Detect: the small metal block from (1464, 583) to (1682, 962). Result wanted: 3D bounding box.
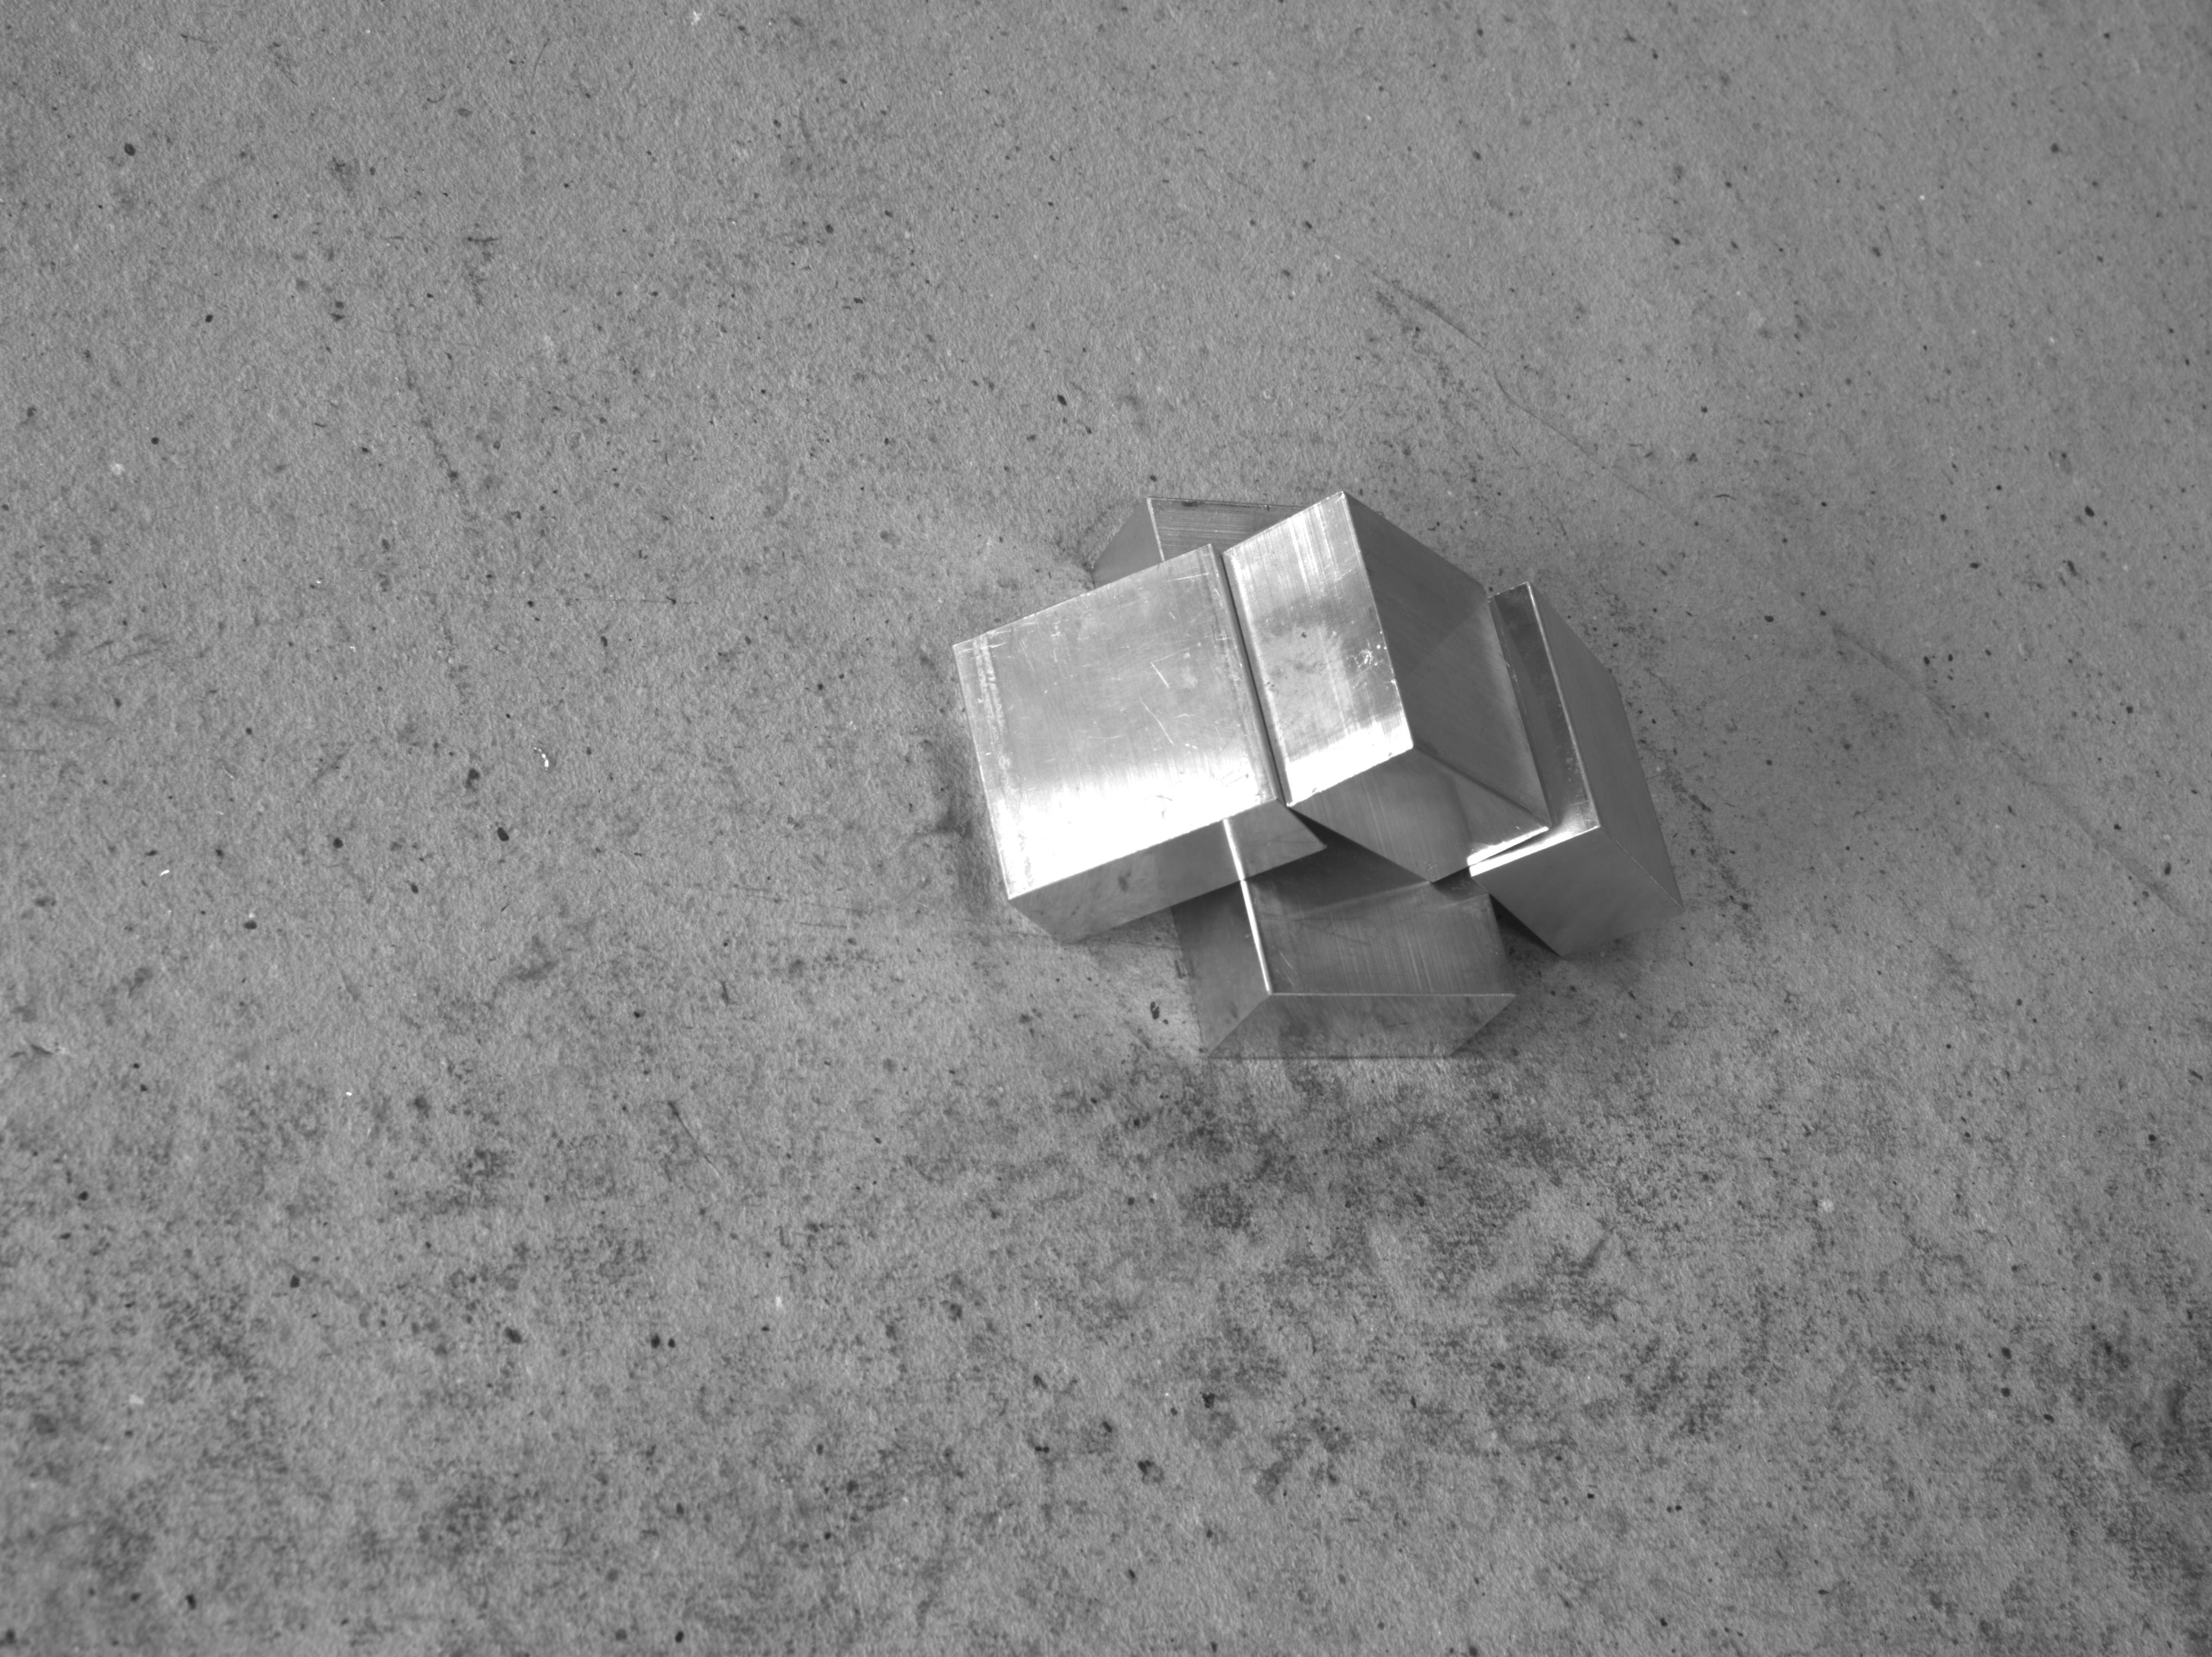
[{"bbox_3d":[0.080,-0.010,0.673,0.050,0.025,0.050,37,36,-58],"label":"small metal block"}]

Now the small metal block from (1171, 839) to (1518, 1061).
[{"bbox_3d":[0.040,0.013,0.653,0.050,0.025,0.050,1,61,-28],"label":"small metal block"}]

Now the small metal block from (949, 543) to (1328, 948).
[{"bbox_3d":[0.005,-0.014,0.634,0.025,0.050,0.050,40,32,-60],"label":"small metal block"}]

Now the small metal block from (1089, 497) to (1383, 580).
[{"bbox_3d":[0.029,-0.031,0.675,0.050,0.025,0.050,1,61,-28],"label":"small metal block"}]

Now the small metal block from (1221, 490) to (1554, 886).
[{"bbox_3d":[0.049,-0.023,0.634,0.050,0.025,0.050,25,45,-52],"label":"small metal block"}]
